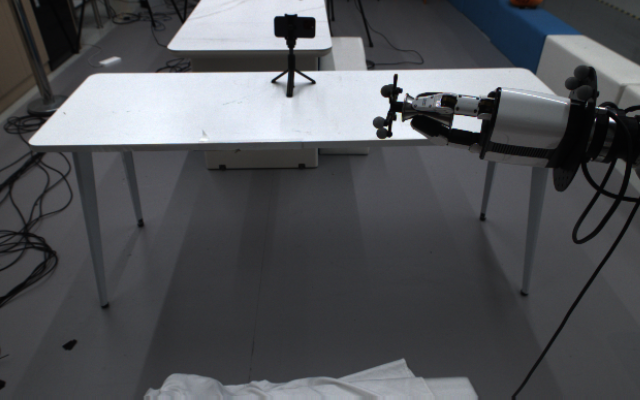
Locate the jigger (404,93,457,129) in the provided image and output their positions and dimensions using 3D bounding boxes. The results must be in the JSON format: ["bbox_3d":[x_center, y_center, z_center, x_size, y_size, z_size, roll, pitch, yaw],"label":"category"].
[{"bbox_3d":[0.157,-0.128,0.671,0.071,0.043,0.043,10,35,15],"label":"jigger"}]
